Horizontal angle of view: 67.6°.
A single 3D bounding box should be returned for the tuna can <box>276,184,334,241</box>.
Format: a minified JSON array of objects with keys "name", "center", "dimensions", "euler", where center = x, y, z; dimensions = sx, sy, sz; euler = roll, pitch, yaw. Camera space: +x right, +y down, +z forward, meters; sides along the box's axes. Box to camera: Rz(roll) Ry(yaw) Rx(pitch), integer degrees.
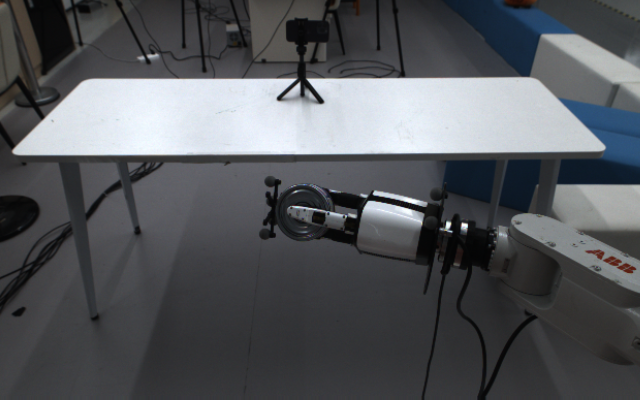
[{"name":"tuna can","center":[-0.020,0.017,0.717],"dimensions":[0.085,0.085,0.034],"euler":[10,2,11]}]
